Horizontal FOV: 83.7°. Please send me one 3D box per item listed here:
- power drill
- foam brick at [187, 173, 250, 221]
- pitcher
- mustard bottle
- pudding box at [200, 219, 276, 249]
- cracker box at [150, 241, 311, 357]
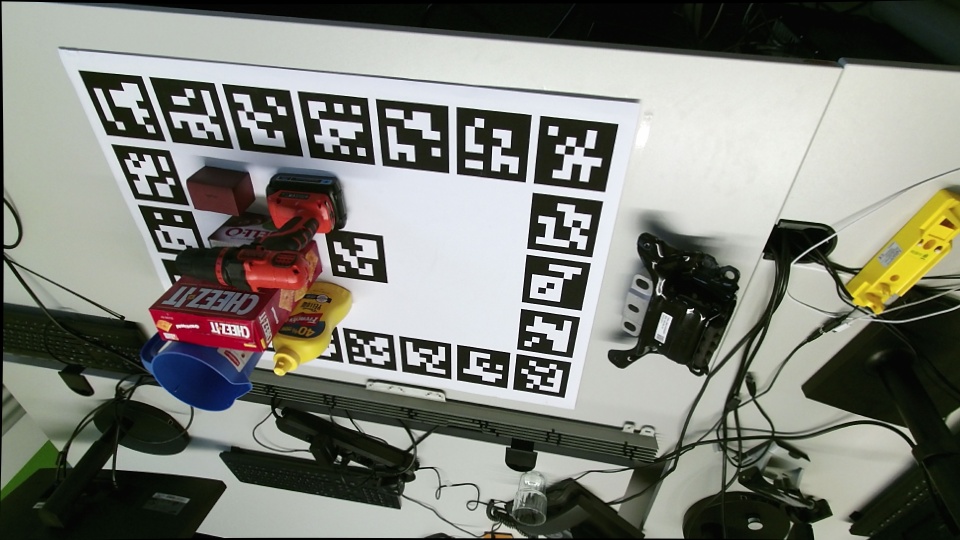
[{"bbox_3d":[-0.315,-0.042,0.757,0.185,0.186,0.057,7,129,7],"label":"power drill"},{"bbox_3d":[-0.417,-0.117,0.850,0.078,0.051,0.053,9,124,5],"label":"foam brick"},{"bbox_3d":[-0.439,0.109,0.901,0.189,0.241,0.133,12,126,1],"label":"pitcher"},{"bbox_3d":[-0.306,0.120,0.896,0.096,0.191,0.058,18,125,-2],"label":"mustard bottle"},{"bbox_3d":[-0.368,-0.039,0.855,0.114,0.089,0.038,7,127,3],"label":"pudding box"},{"bbox_3d":[-0.387,0.030,0.841,0.165,0.213,0.072,5,127,5],"label":"cracker box"}]
